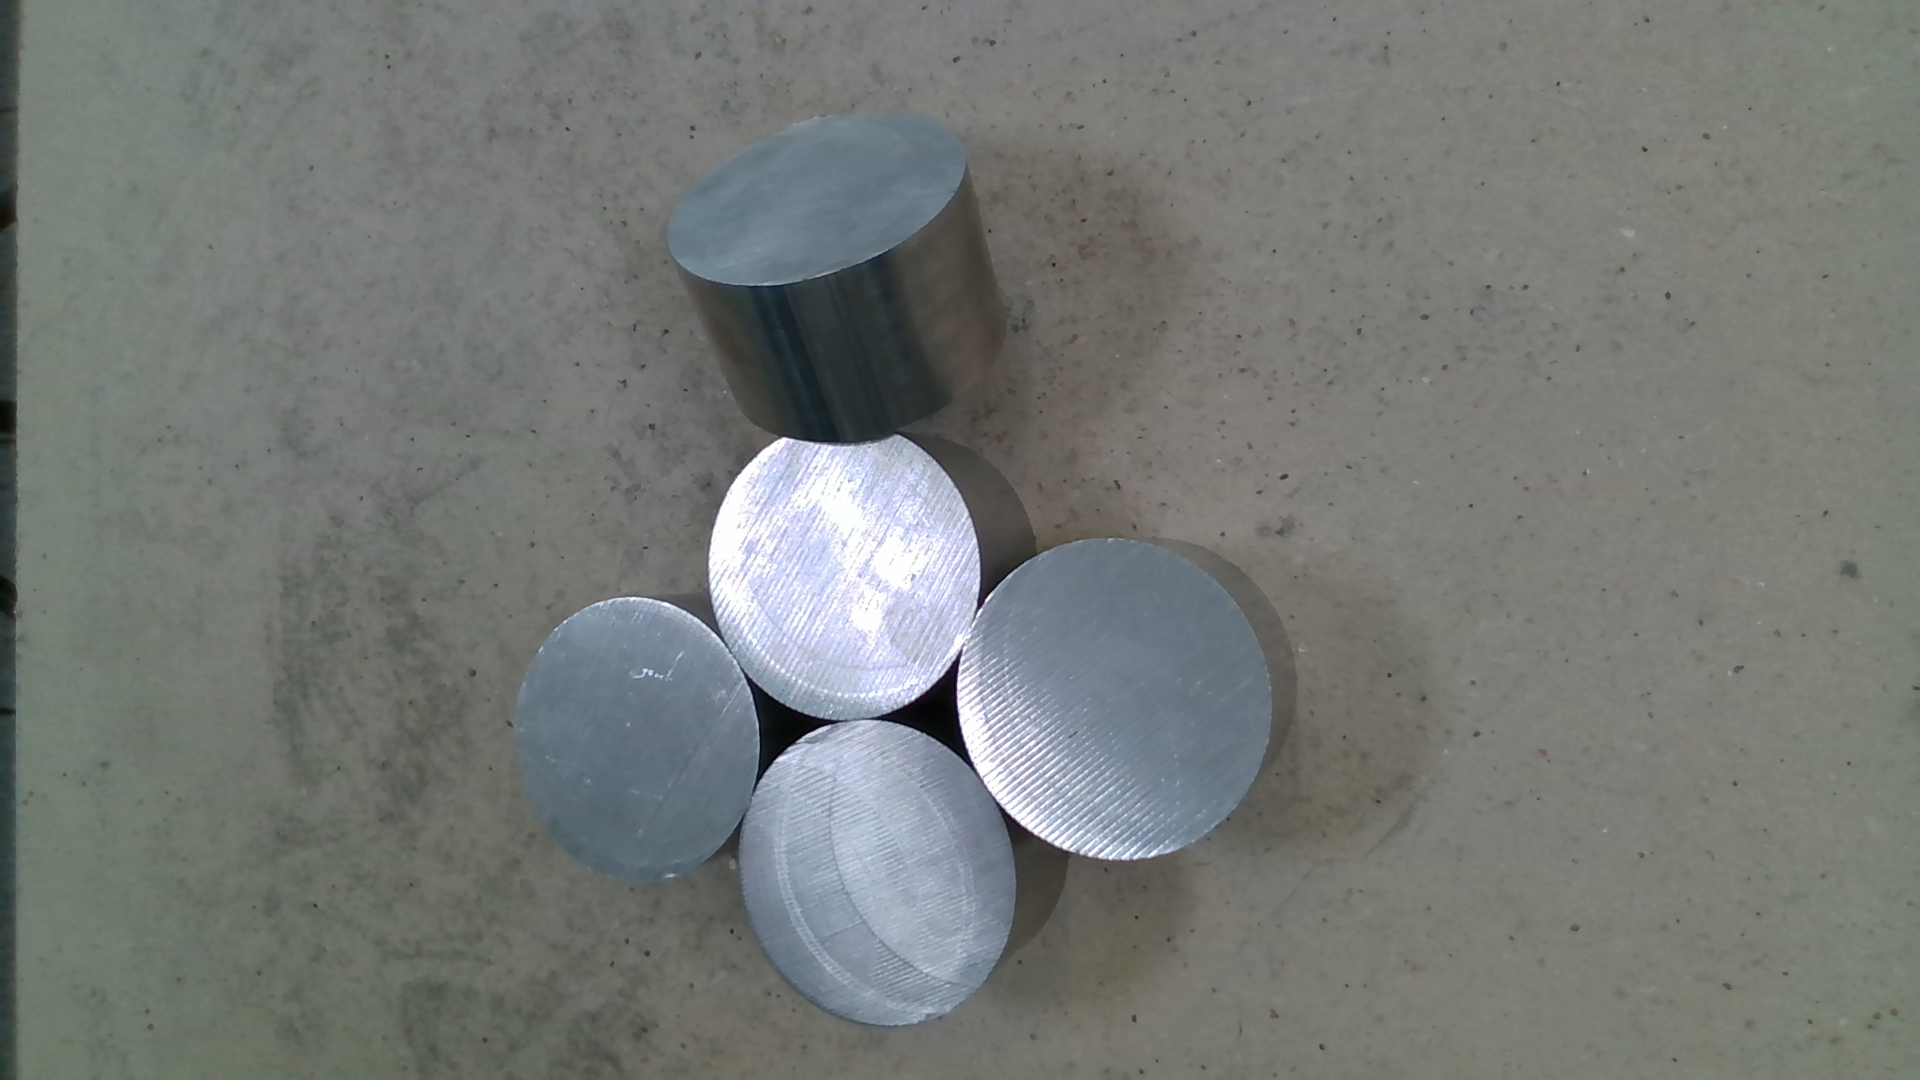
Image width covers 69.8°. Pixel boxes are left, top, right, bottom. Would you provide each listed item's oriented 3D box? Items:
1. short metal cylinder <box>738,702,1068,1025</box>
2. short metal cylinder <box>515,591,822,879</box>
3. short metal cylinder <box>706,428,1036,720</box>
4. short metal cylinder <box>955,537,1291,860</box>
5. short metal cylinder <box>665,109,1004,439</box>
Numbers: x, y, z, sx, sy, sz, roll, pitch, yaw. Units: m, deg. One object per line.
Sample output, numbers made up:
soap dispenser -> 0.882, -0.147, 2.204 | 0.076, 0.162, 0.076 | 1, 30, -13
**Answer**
short metal cylinder -> -0.015, 0.088, 0.387 | 0.080, 0.050, 0.080 | 0, 90, 20
short metal cylinder -> -0.084, 0.056, 0.412 | 0.080, 0.050, 0.080 | 0, 90, 20
short metal cylinder -> -0.024, 0.008, 0.390 | 0.080, 0.050, 0.080 | 0, 90, 20
short metal cylinder -> 0.045, 0.039, 0.365 | 0.080, 0.050, 0.080 | 0, 90, 20
short metal cylinder -> -0.032, -0.072, 0.370 | 0.080, 0.050, 0.080 | -9, 44, 9
